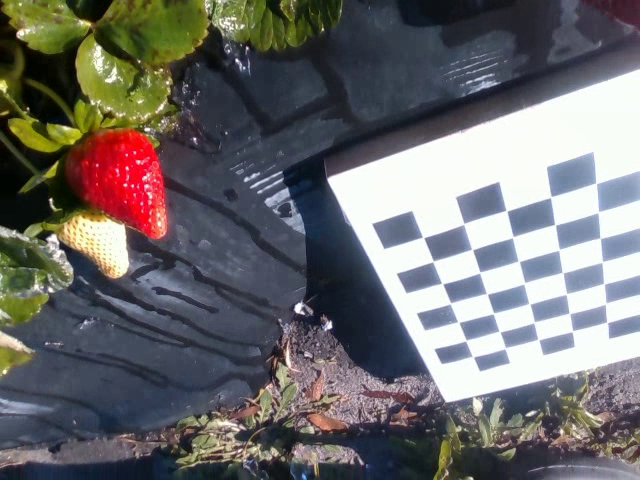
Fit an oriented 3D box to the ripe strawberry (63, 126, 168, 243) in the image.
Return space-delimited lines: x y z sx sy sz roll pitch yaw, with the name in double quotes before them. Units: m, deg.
"ripe strawberry" -0.088 -0.023 0.290 0.042 0.061 0.046 -29 1 24
